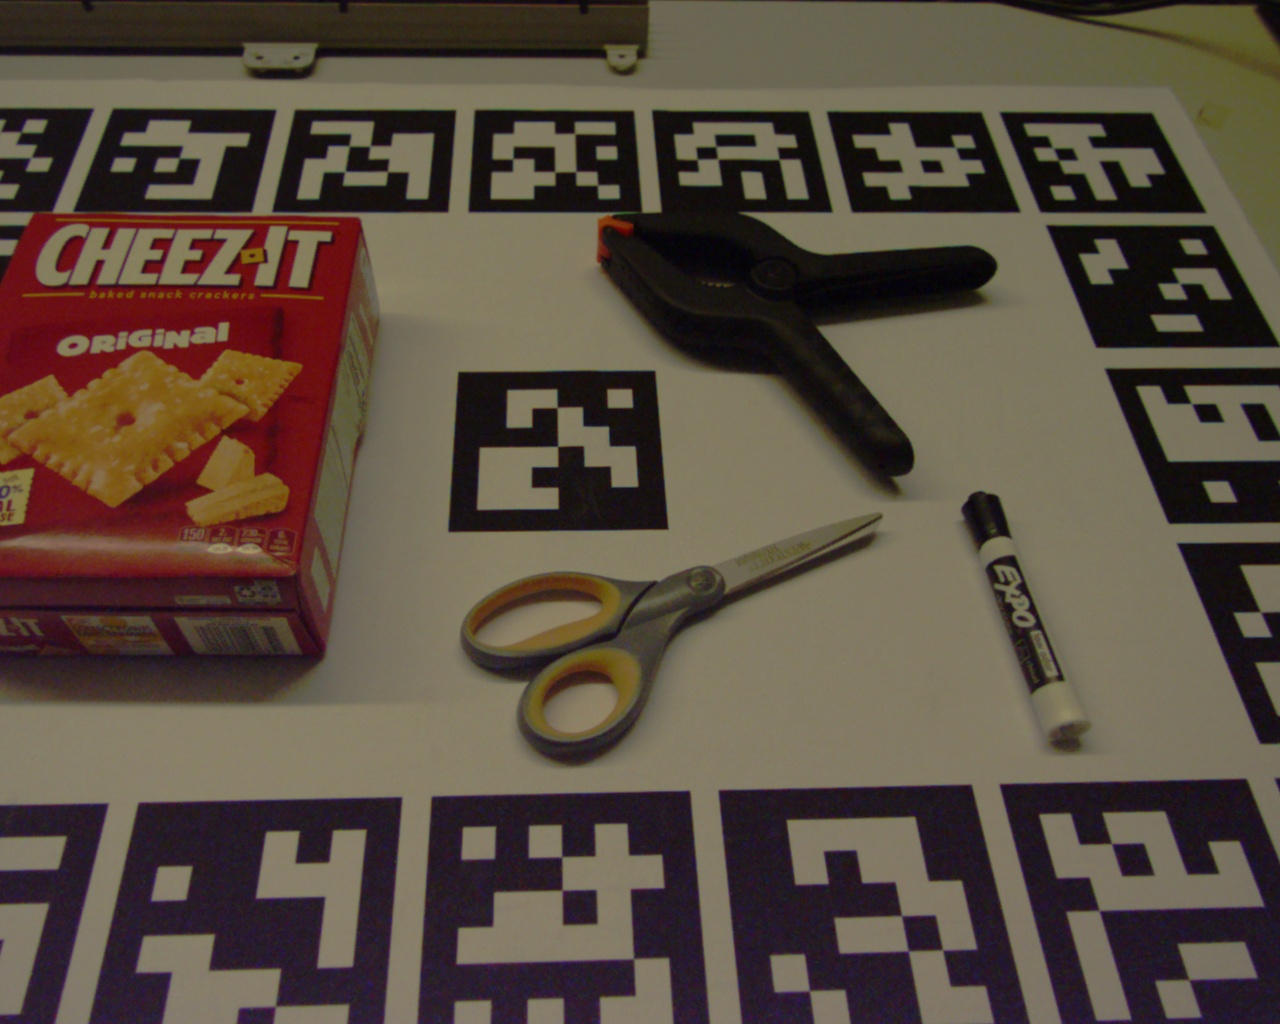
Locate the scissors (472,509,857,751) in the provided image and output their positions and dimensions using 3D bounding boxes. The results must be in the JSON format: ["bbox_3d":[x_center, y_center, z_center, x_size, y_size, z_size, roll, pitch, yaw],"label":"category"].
[{"bbox_3d":[0.020,0.037,0.529,0.201,0.016,0.088,-24,56,-22],"label":"scissors"}]

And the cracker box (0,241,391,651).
[{"bbox_3d":[-0.215,-0.040,0.548,0.164,0.072,0.214,0,53,-2],"label":"cracker box"}]

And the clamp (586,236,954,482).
[{"bbox_3d":[0.059,-0.111,0.650,0.204,0.036,0.164,24,54,15],"label":"clamp"}]

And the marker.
[{"bbox_3d":[0.162,0.038,0.532,0.019,0.019,0.122,-4,52,-6],"label":"marker"}]
